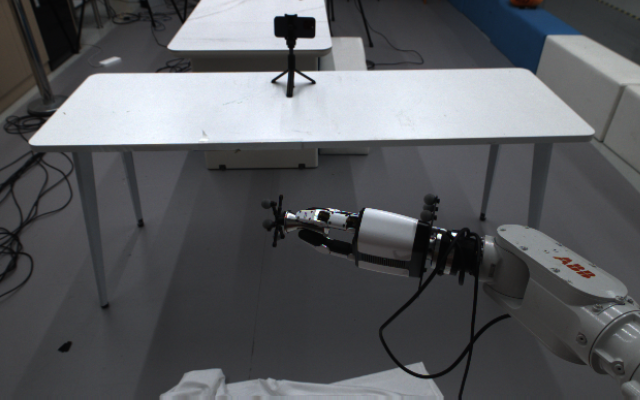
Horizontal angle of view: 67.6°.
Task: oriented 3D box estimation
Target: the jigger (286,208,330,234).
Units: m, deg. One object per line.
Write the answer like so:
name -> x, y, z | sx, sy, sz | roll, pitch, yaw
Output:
jigger -> -0.014, 0.034, 0.794 | 0.071, 0.043, 0.043 | 3, 34, 14
